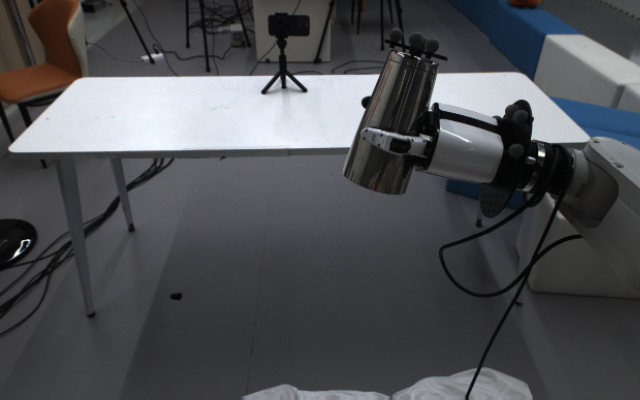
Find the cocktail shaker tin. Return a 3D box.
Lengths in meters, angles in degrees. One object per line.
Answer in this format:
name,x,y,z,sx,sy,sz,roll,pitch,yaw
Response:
cocktail shaker tin,0.097,-0.104,0.638,0.093,0.170,0.093,15,20,-5
